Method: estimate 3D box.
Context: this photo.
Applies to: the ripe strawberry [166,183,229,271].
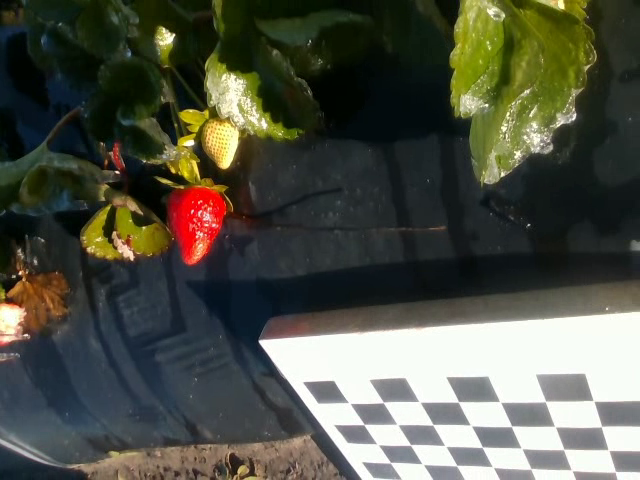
[{"bbox_3d":[-0.059,-0.004,0.285,0.039,0.039,0.040,-11,-27,44],"label":"ripe strawberry"}]
